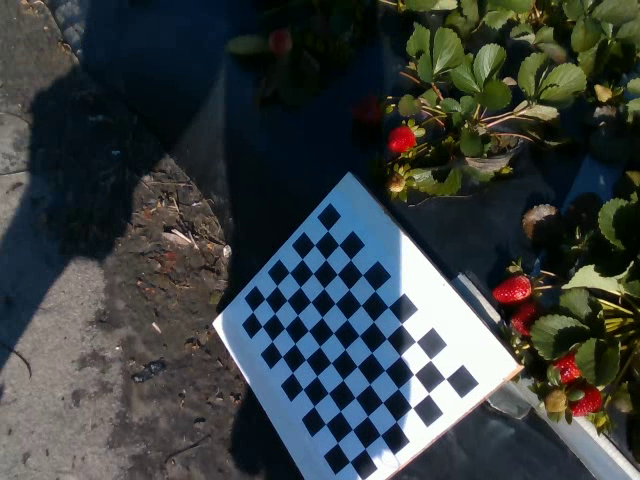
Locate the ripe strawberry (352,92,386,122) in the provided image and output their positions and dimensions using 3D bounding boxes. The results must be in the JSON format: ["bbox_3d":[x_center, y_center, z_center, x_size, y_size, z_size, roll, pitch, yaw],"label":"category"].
[{"bbox_3d":[0.060,-0.174,0.839,0.050,0.051,0.044,-6,-24,-38],"label":"ripe strawberry"}]

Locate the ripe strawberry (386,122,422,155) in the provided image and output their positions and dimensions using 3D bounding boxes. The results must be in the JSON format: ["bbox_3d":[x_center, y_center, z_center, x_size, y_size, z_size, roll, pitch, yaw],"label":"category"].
[{"bbox_3d":[0.105,-0.124,0.808,0.042,0.039,0.049,1,20,35],"label":"ripe strawberry"}]
